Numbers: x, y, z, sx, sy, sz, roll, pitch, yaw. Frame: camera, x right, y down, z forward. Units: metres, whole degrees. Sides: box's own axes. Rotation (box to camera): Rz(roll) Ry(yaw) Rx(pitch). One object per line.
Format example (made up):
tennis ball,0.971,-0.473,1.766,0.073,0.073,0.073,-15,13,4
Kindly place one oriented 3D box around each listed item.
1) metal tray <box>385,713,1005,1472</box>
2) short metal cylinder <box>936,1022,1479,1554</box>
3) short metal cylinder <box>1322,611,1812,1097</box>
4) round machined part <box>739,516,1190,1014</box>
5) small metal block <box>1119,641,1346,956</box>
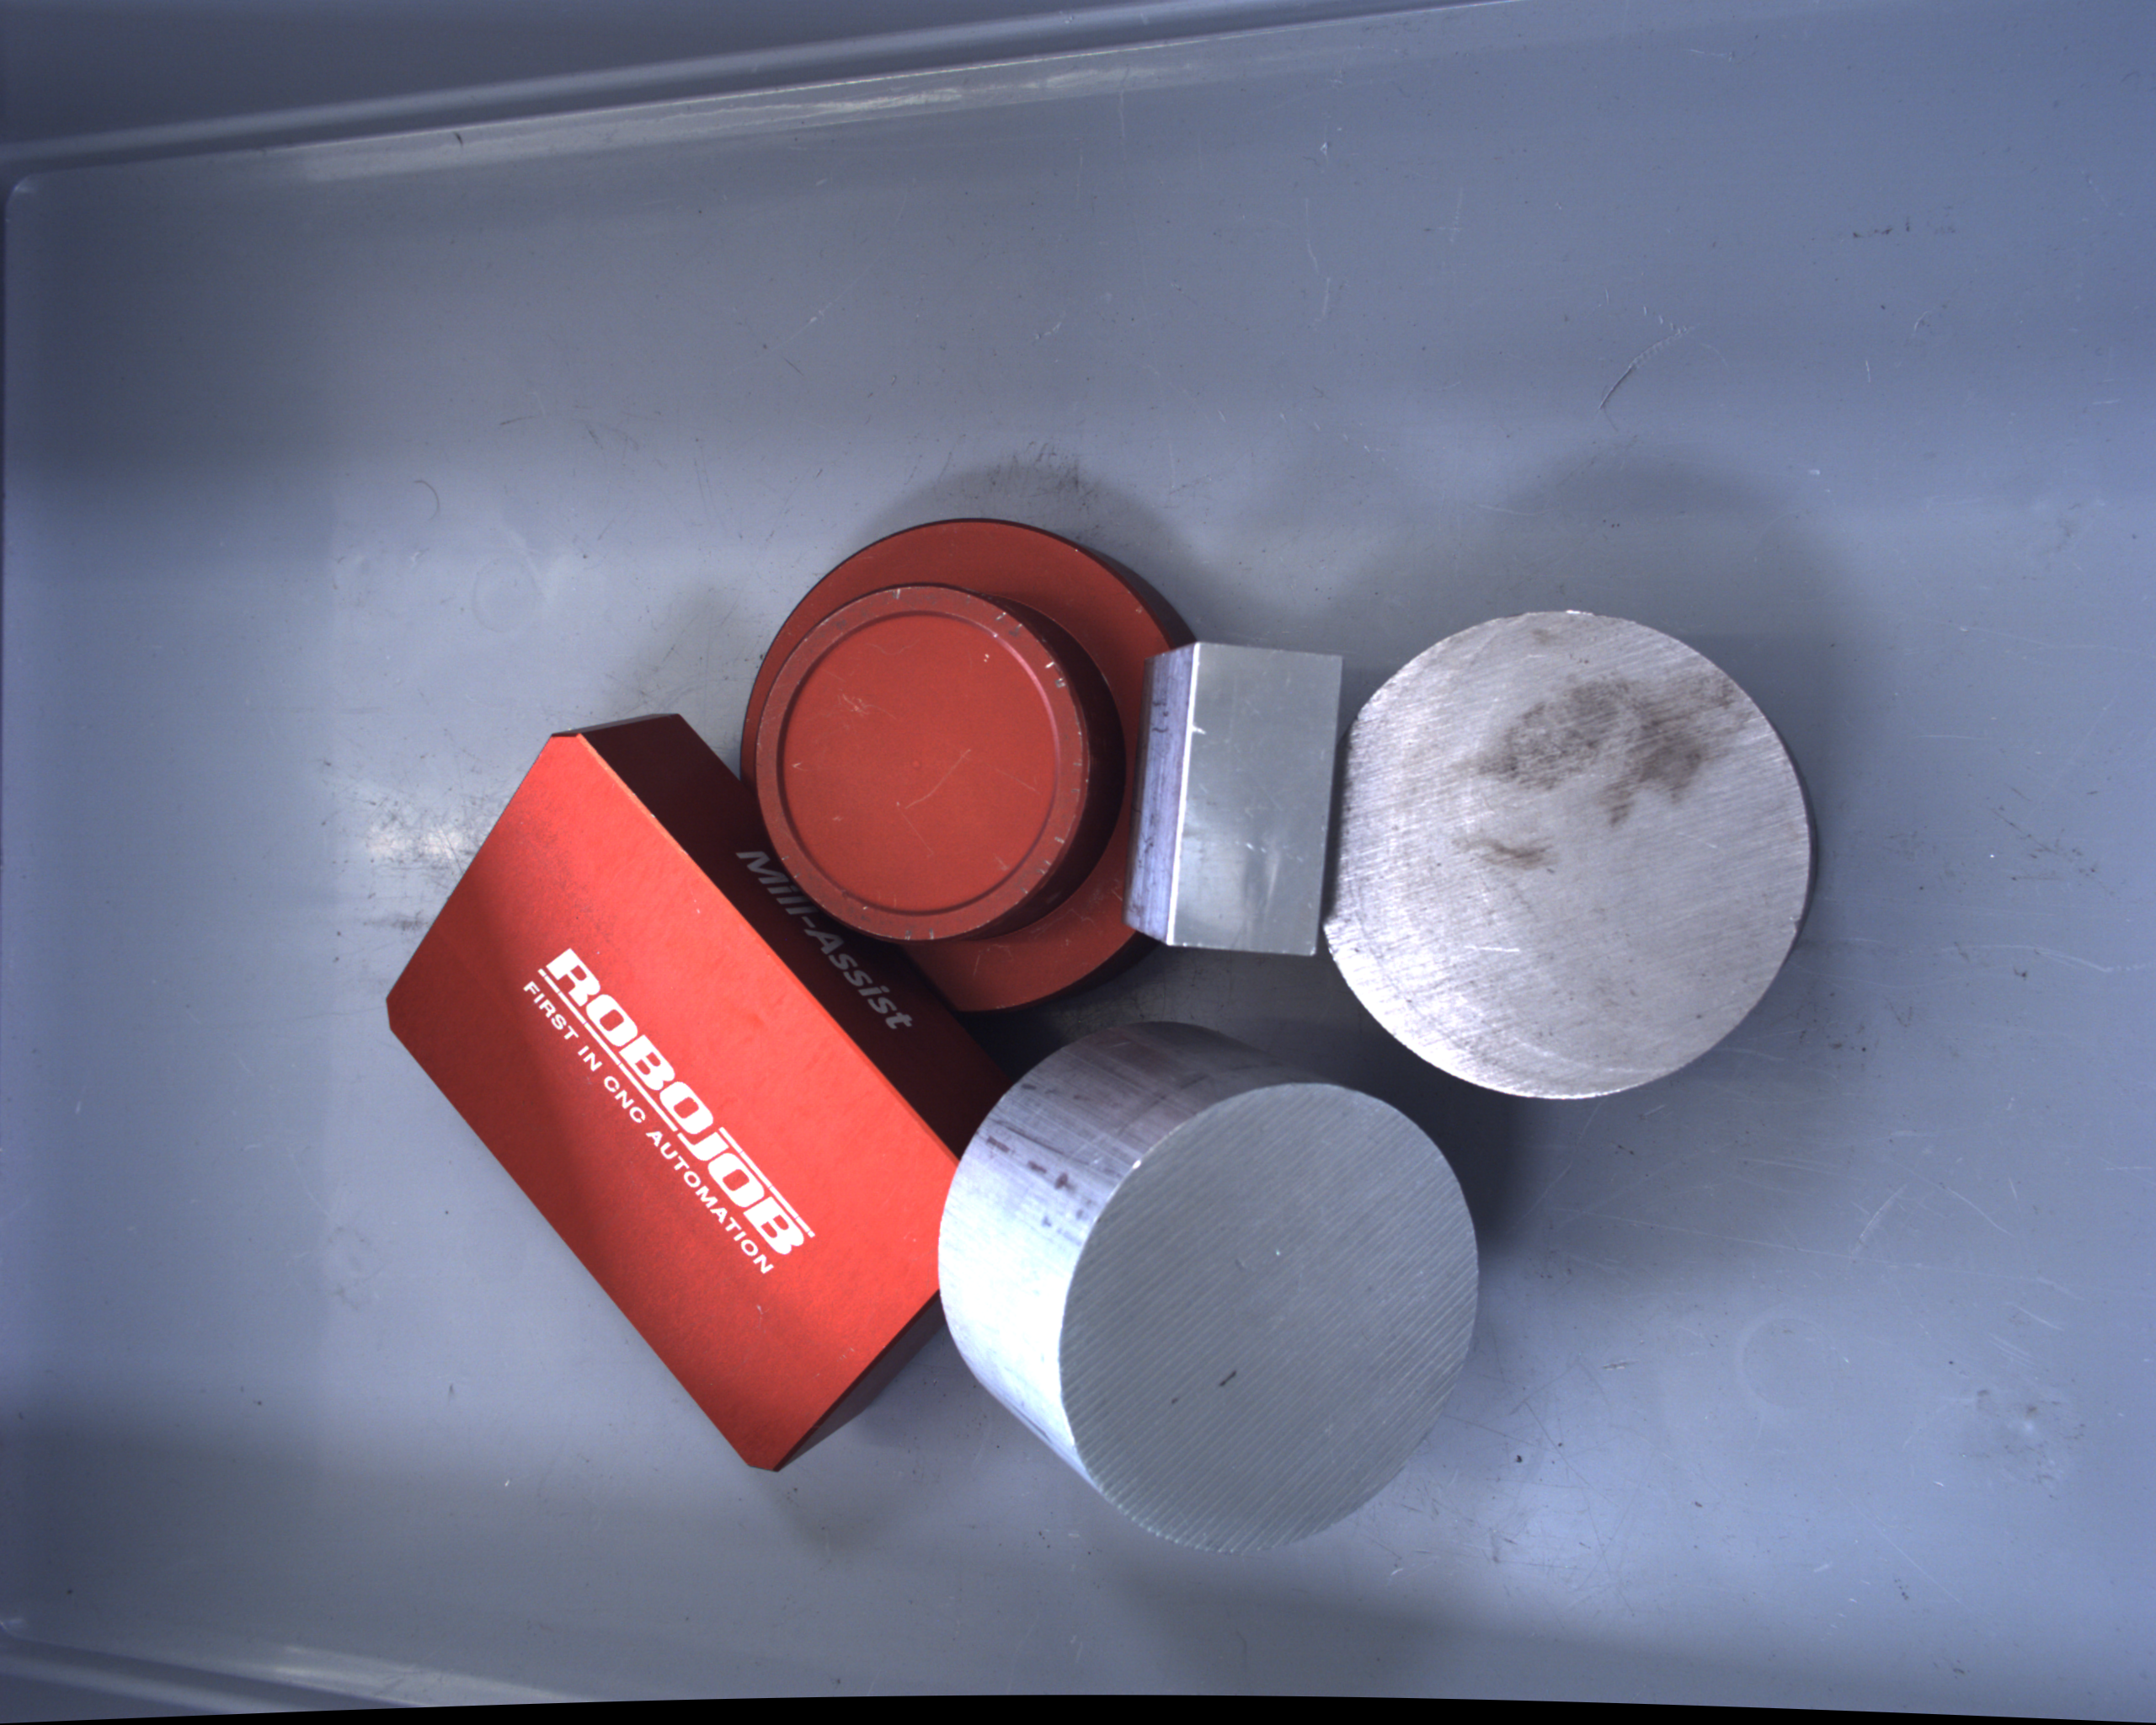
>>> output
metal tray,-0.074,0.045,0.420,0.130,0.030,0.090,47,119,13
short metal cylinder,0.022,0.072,0.365,0.050,0.081,0.079,16,97,63
short metal cylinder,0.086,-0.001,0.365,0.080,0.050,0.079,0,90,20
round machined part,-0.023,-0.019,0.407,0.098,0.042,0.097,0,90,19
small metal block,0.026,-0.011,0.367,0.025,0.050,0.050,5,91,-8
